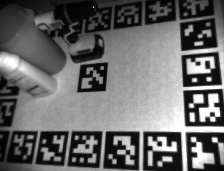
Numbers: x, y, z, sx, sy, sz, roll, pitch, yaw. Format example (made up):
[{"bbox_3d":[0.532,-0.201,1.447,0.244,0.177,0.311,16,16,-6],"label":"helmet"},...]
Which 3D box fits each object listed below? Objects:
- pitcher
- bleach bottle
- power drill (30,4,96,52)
[{"bbox_3d":[-0.279,-0.147,0.683,0.188,0.245,0.132,-28,67,9],"label":"pitcher"},{"bbox_3d":[-0.303,-0.056,0.638,0.102,0.253,0.067,-10,69,17],"label":"bleach bottle"},{"bbox_3d":[-0.116,-0.168,0.646,0.183,0.188,0.057,-6,73,11],"label":"power drill"}]
